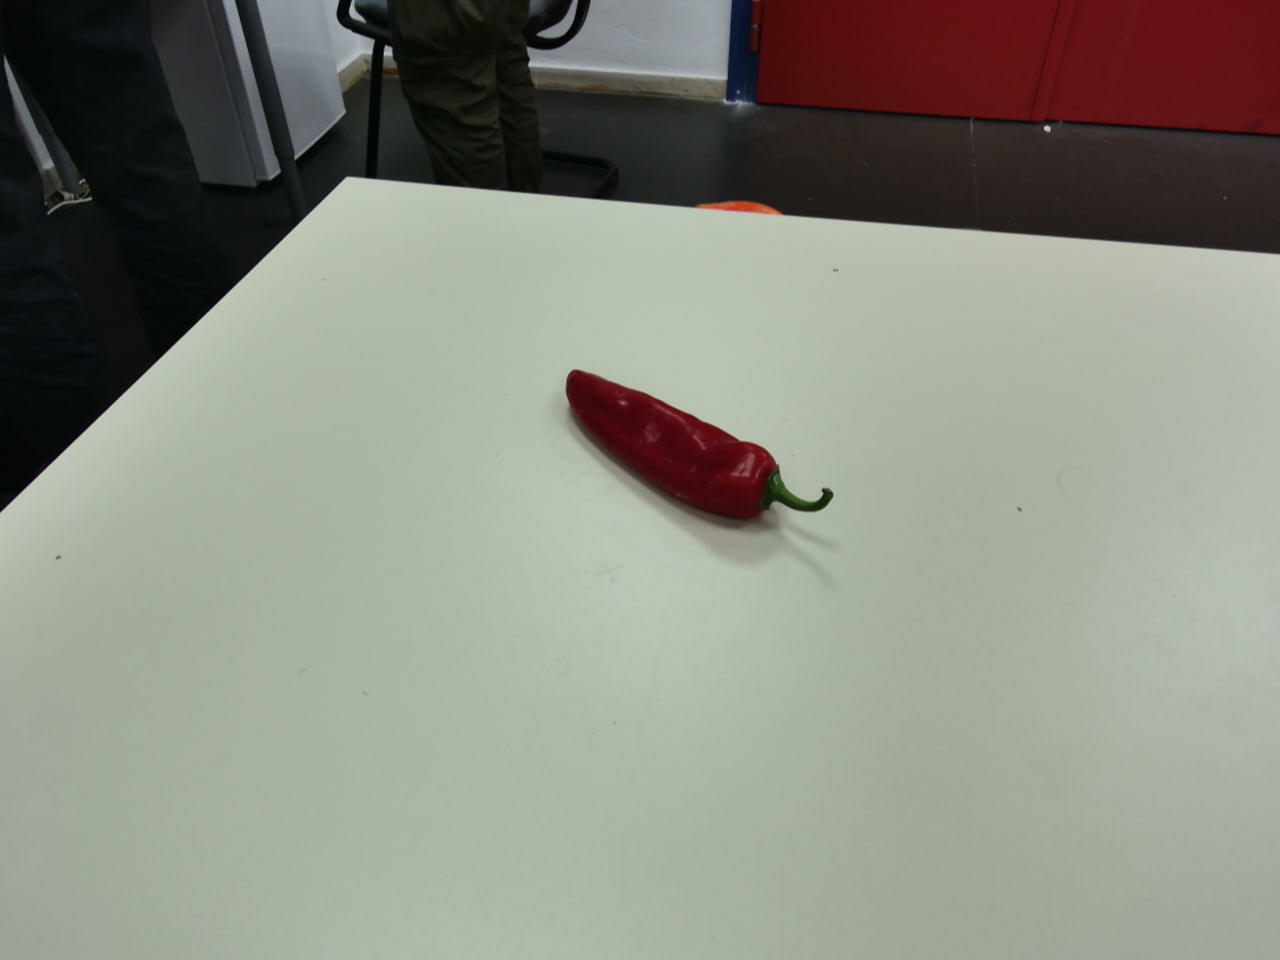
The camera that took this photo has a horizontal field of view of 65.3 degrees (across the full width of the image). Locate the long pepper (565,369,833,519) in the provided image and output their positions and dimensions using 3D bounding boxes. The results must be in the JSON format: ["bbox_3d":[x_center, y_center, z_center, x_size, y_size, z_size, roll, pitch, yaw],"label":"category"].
[{"bbox_3d":[0.023,-0.021,0.605,0.211,0.043,0.050,31,49,33],"label":"long pepper"}]
